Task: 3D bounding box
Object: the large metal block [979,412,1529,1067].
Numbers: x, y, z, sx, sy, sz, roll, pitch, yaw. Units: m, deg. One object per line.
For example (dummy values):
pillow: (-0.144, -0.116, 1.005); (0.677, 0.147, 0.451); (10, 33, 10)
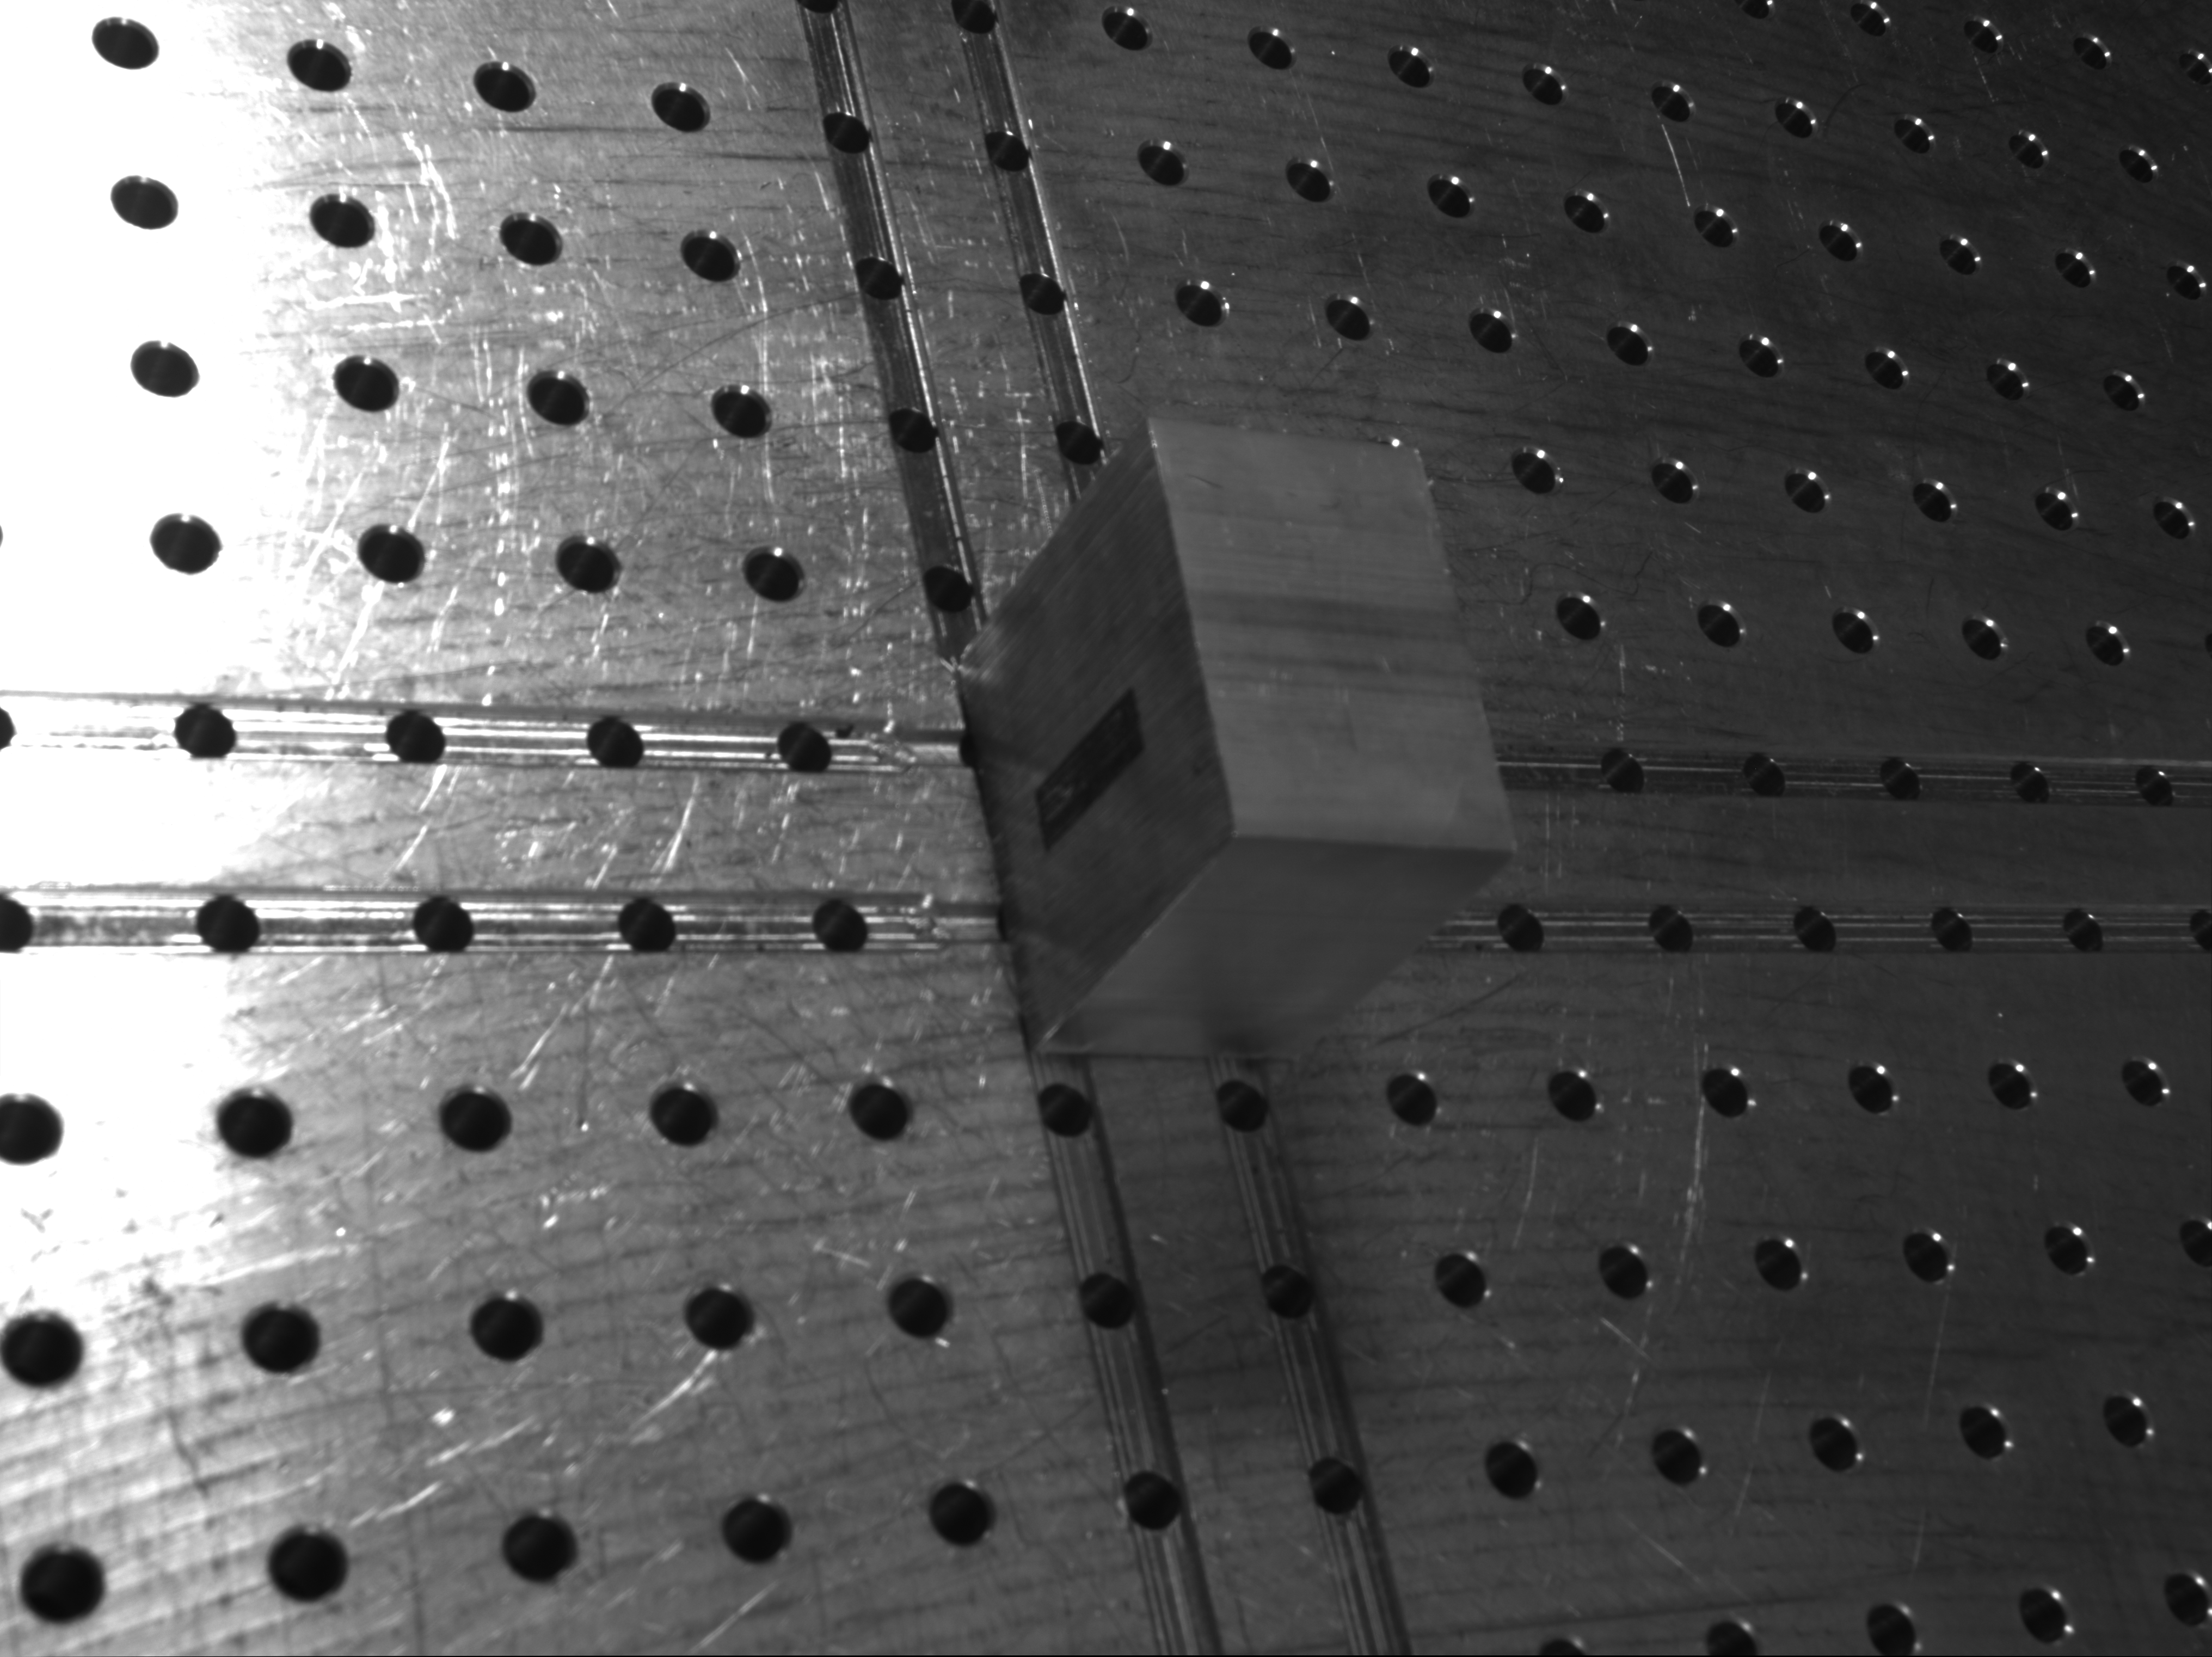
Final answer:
large metal block: (0.022, -0.013, 0.627); (0.050, 0.080, 0.080); (3, 60, -26)
